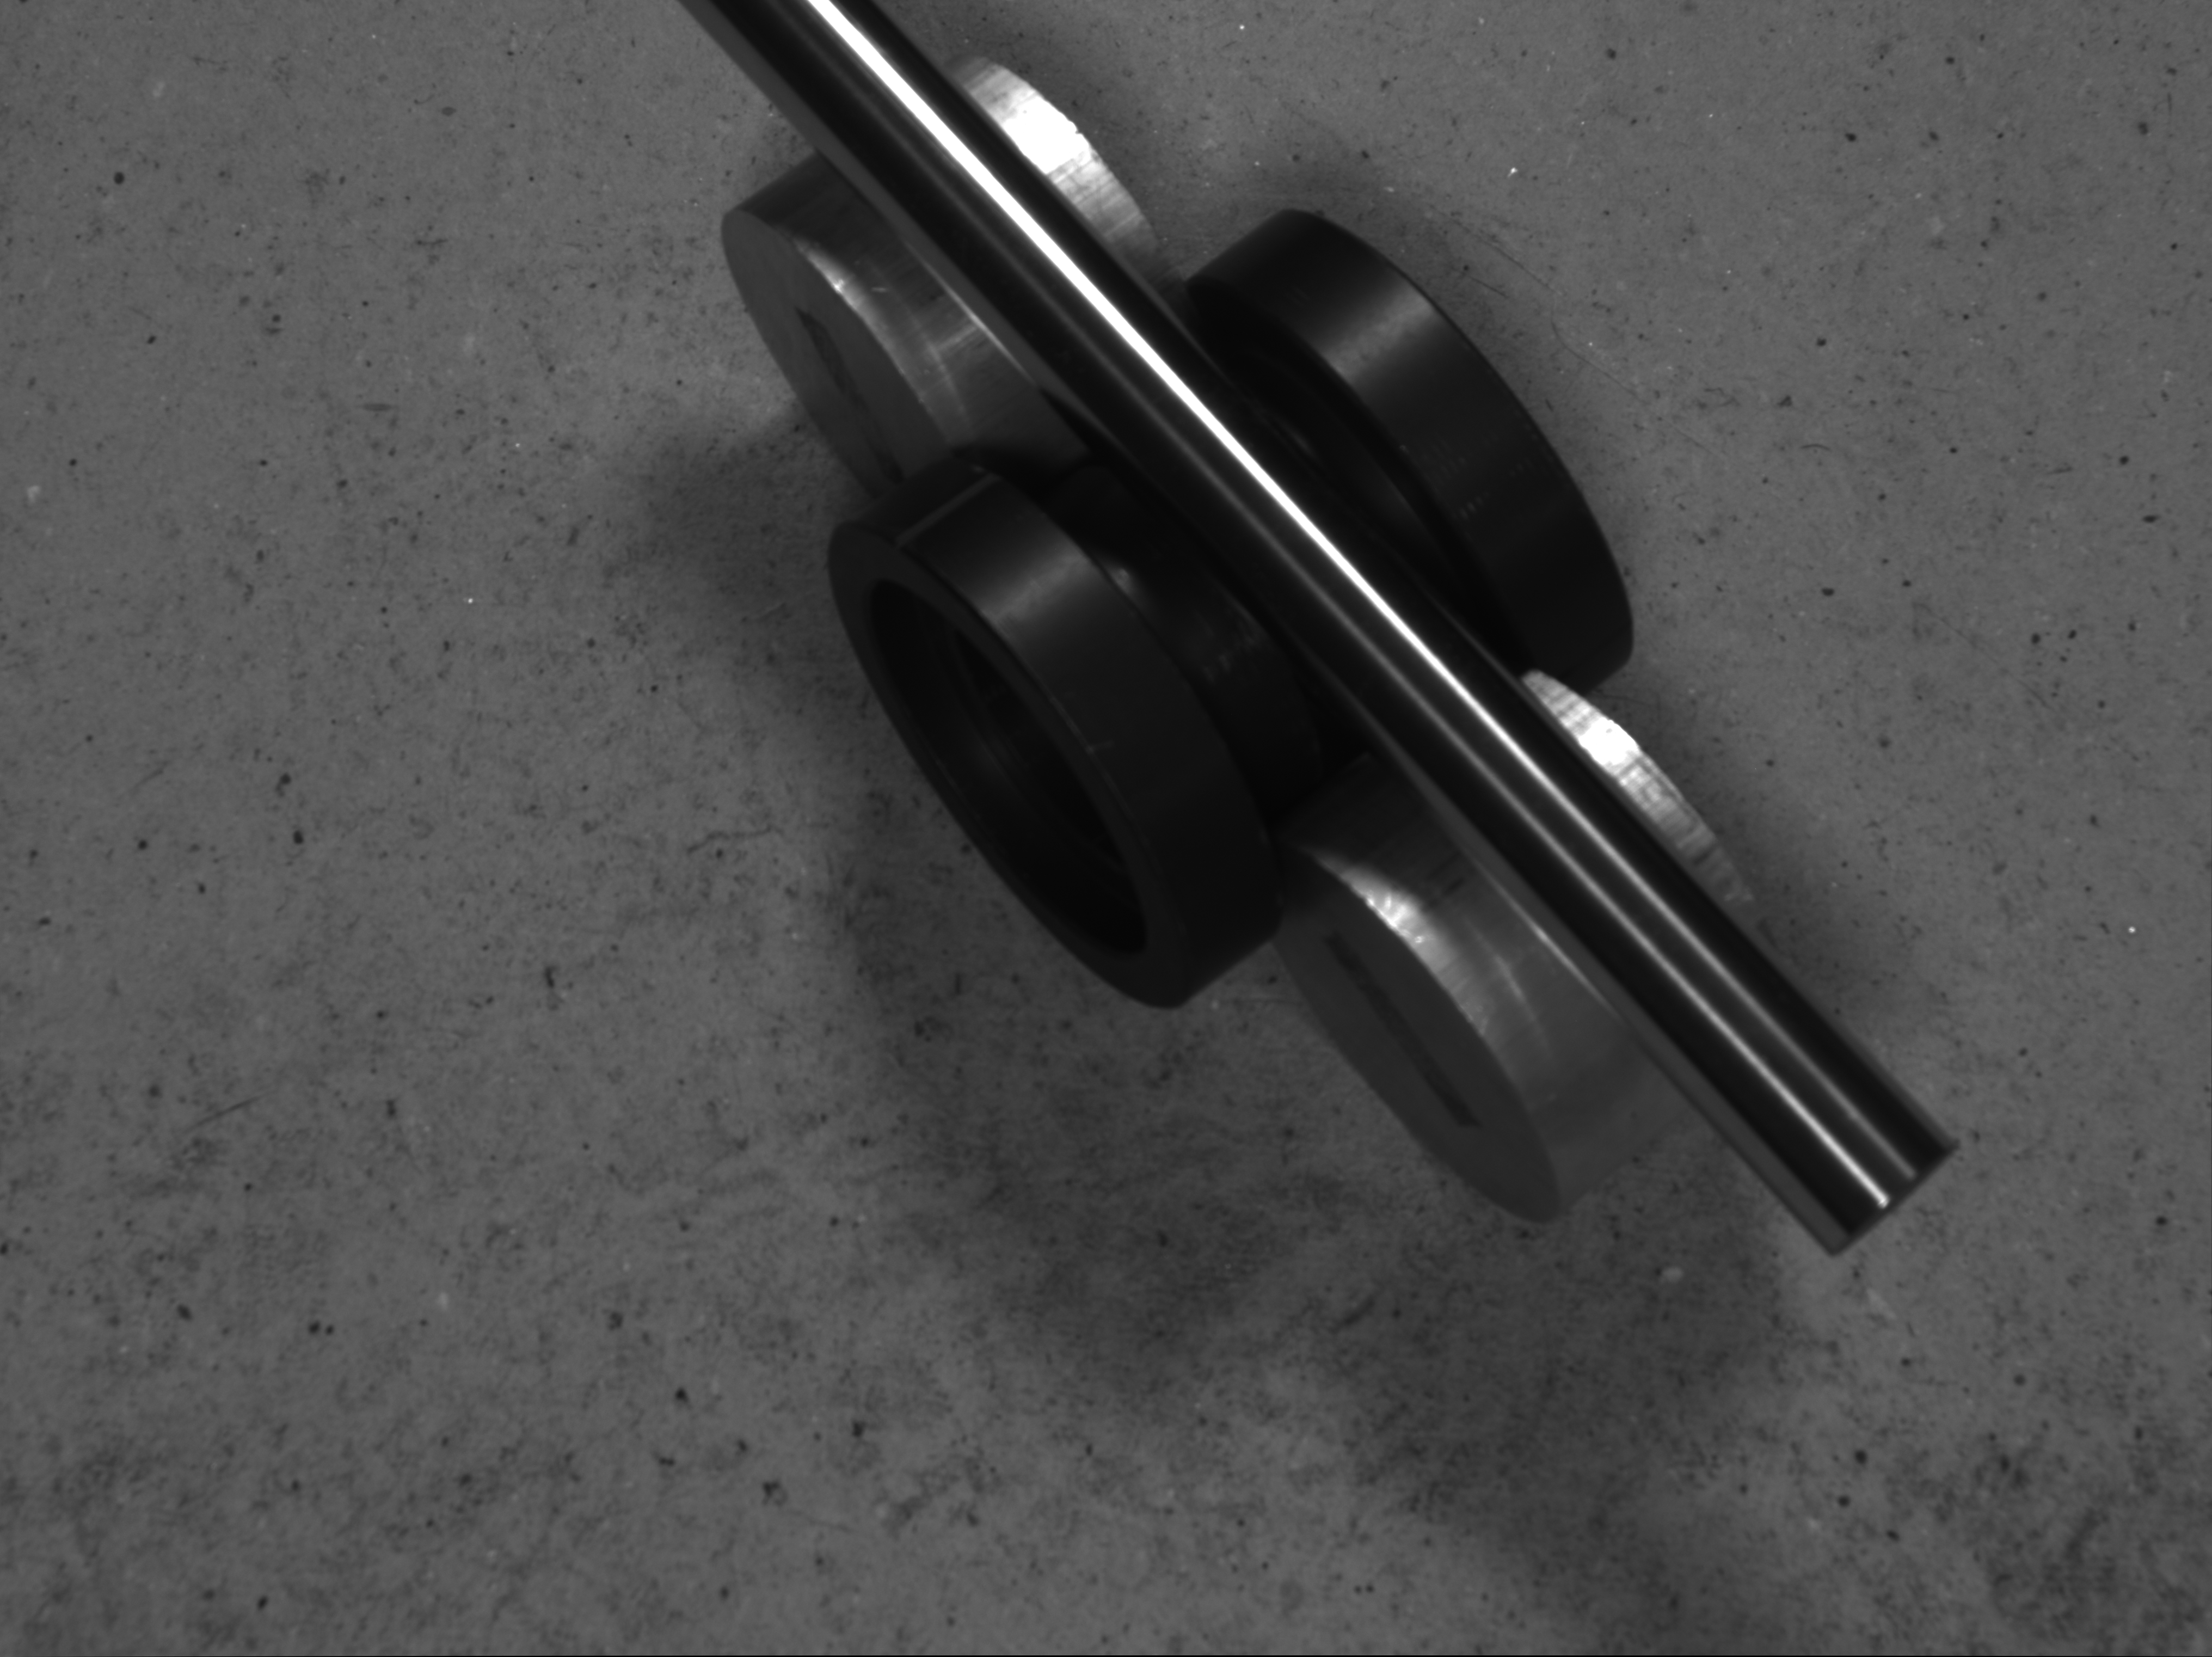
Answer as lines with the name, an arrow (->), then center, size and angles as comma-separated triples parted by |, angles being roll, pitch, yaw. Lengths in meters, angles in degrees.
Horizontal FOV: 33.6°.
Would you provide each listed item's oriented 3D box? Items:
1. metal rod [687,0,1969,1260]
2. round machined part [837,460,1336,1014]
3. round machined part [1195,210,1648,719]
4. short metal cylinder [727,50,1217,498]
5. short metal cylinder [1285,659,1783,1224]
metal rod -> 0.022, -0.053, 0.580 | 0.025, 0.025, 0.300 | -38, 74, -13
round machined part -> 0.001, -0.021, 0.612 | 0.042, 0.098, 0.098 | -36, 74, -16
round machined part -> 0.045, -0.053, 0.626 | 0.042, 0.098, 0.098 | -39, 74, -8
short metal cylinder -> -0.023, -0.090, 0.648 | 0.050, 0.080, 0.080 | -37, 74, -12
short metal cylinder -> 0.069, 0.019, 0.609 | 0.050, 0.080, 0.080 | -37, 74, -12
